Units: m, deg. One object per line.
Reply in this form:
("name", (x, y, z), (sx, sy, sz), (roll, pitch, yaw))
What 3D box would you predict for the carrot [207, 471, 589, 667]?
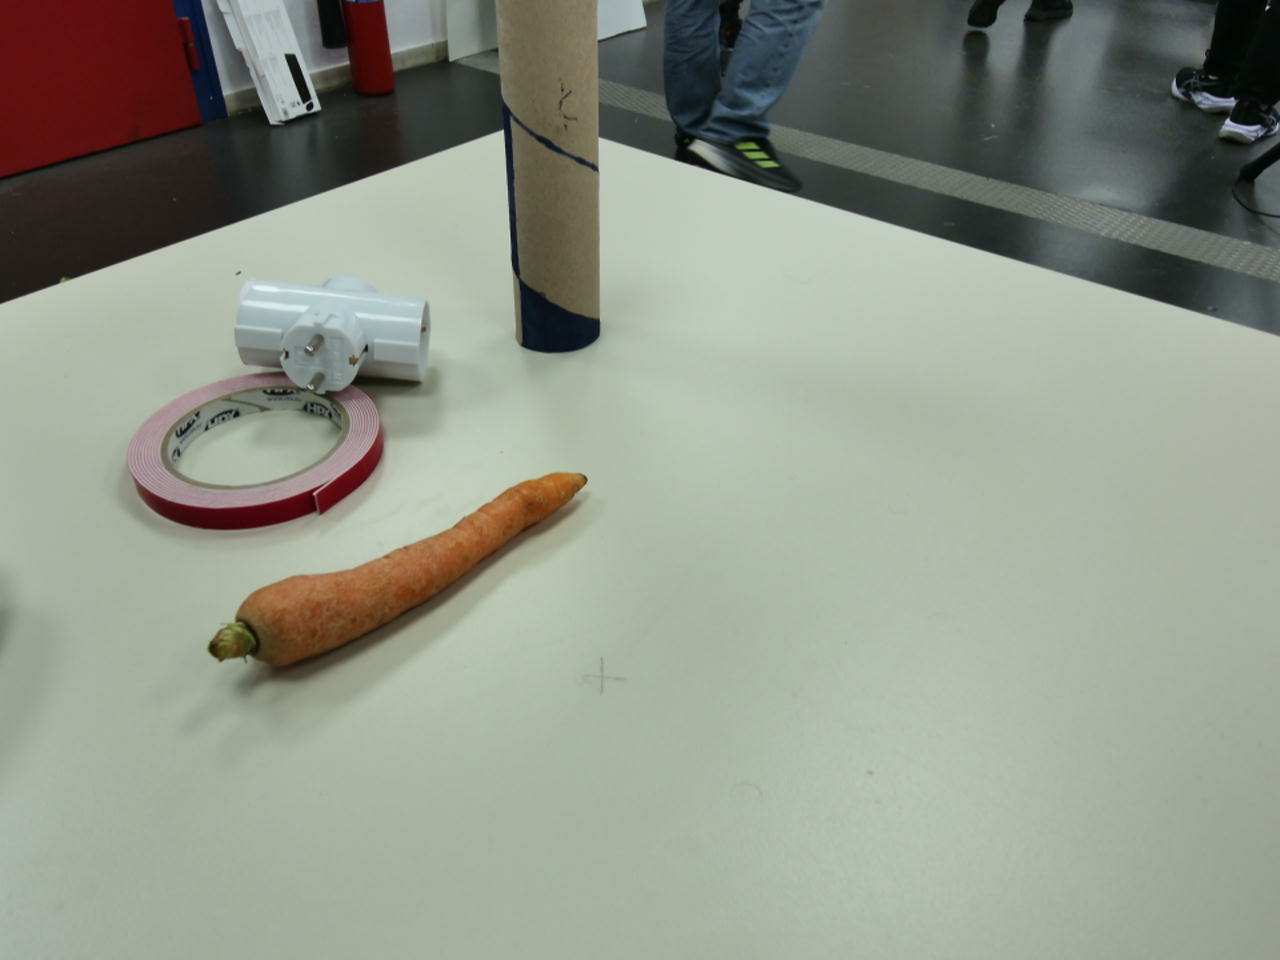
("carrot", (-0.083, 0.029, 0.390), (0.173, 0.032, 0.030), (-28, 45, -34))
